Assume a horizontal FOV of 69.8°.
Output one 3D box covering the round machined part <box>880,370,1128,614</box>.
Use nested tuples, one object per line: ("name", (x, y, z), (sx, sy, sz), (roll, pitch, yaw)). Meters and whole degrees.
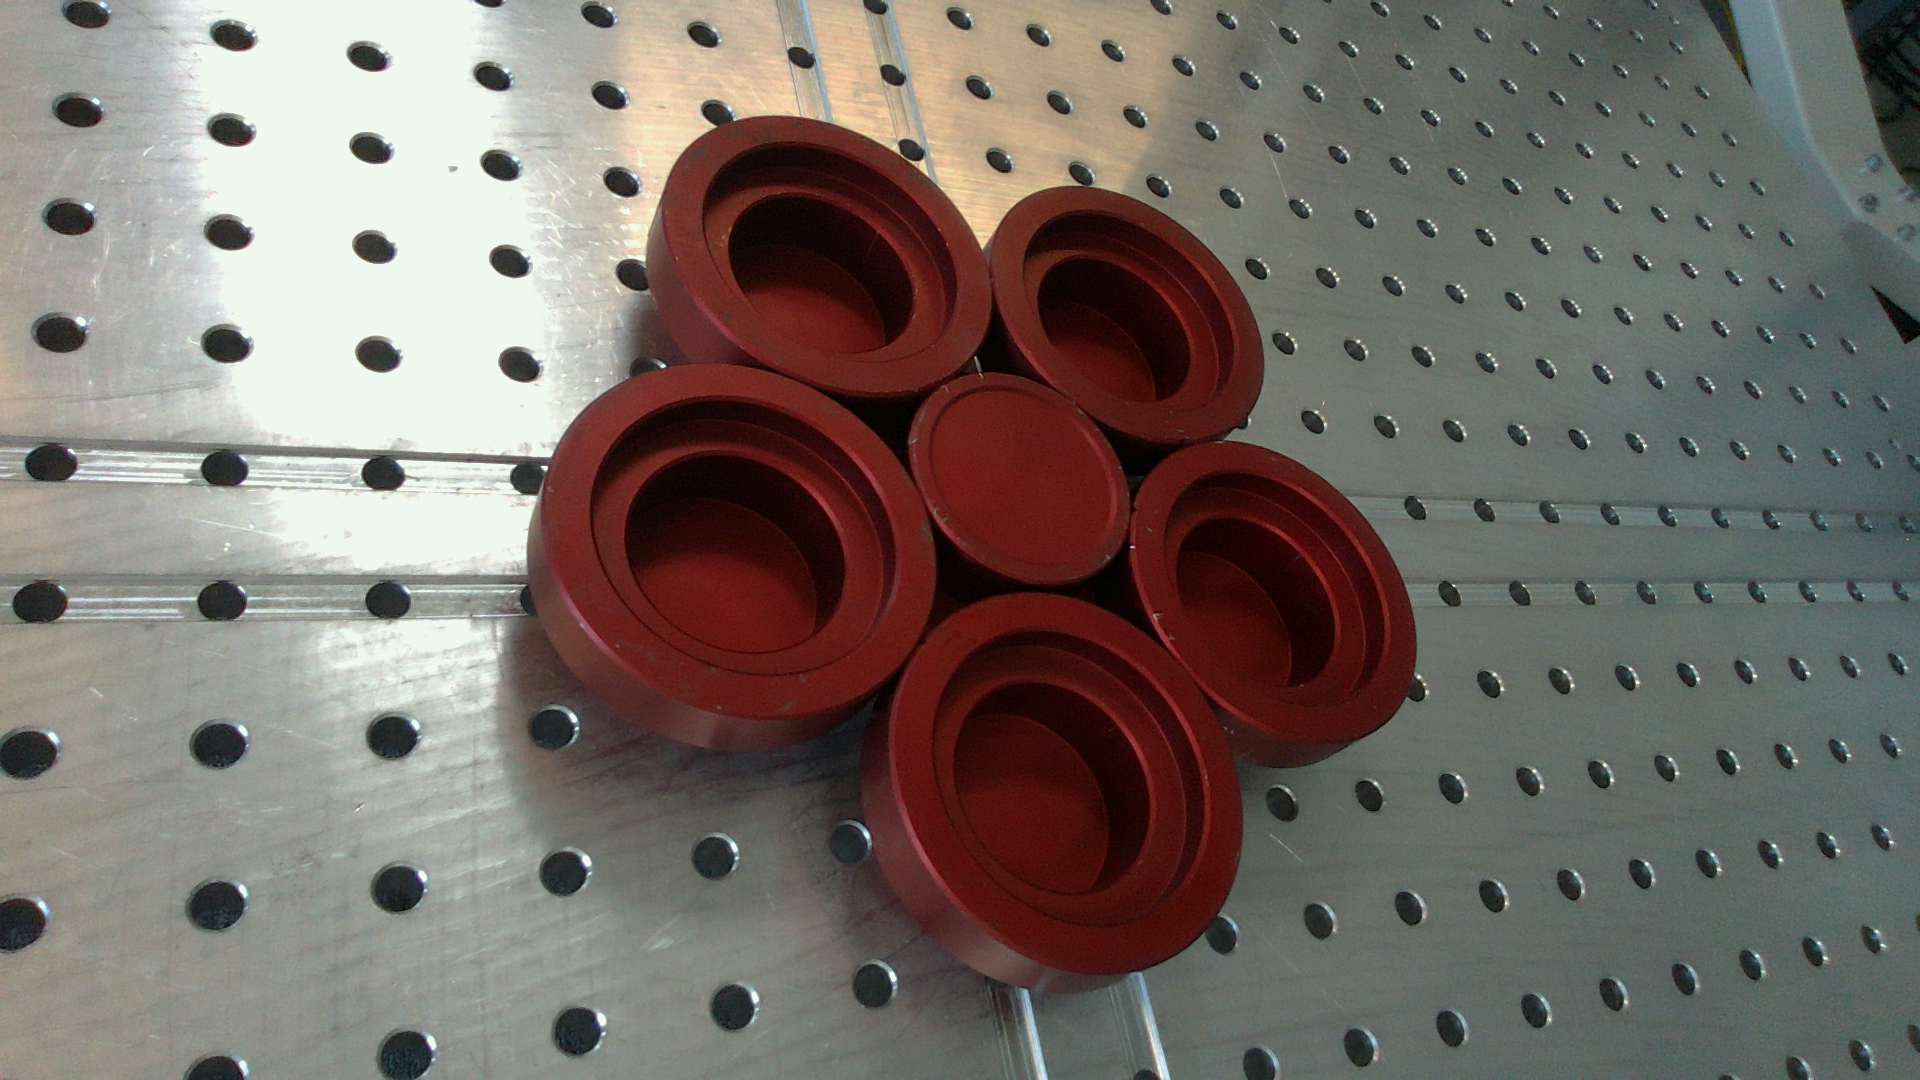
("round machined part", (0.008, -0.009, 0.391), (0.098, 0.042, 0.098), (14, 56, -21))

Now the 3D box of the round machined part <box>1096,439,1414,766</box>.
("round machined part", (0.083, 0.022, 0.413), (0.098, 0.042, 0.098), (14, 56, -21))

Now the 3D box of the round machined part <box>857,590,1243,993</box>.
("round machined part", (0.019, 0.066, 0.351), (0.098, 0.042, 0.098), (14, 56, -21))

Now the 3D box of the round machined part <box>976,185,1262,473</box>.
("round machined part", (0.045, -0.063, 0.444), (0.098, 0.042, 0.098), (14, 56, -21))

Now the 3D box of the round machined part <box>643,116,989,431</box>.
("round machined part", (-0.044, -0.072, 0.402), (0.098, 0.042, 0.098), (14, 56, -21))

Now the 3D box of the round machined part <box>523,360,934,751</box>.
("round machined part", (-0.059, 0.007, 0.345), (0.098, 0.042, 0.098), (14, 56, -21))
